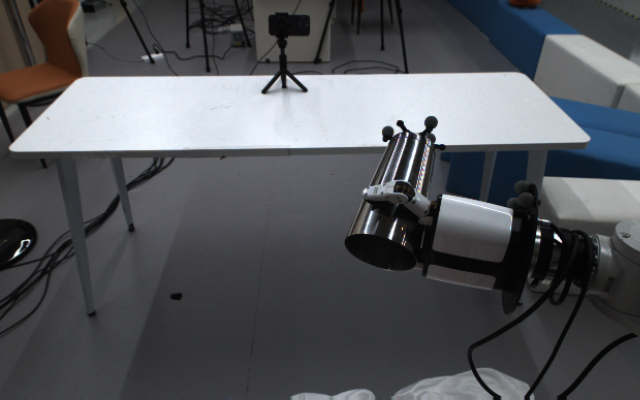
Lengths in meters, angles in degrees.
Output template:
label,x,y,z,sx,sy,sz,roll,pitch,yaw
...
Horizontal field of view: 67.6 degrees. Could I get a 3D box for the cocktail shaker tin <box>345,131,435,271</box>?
label,x,y,z,sx,sy,sz,roll,pitch,yaw
cocktail shaker tin,0.100,-0.005,0.632,0.093,0.093,0.170,13,60,16
